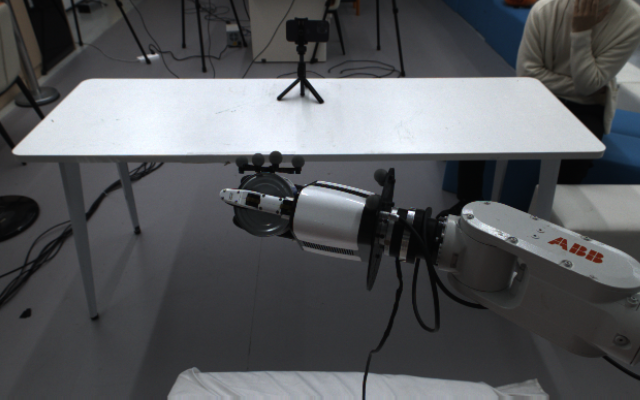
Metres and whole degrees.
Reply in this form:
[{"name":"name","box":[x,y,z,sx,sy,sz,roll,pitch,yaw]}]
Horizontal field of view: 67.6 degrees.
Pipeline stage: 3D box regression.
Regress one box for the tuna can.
[{"name":"tuna can","box":[-0.068,0.007,0.648,0.085,0.085,0.034,12,-1,14]}]
